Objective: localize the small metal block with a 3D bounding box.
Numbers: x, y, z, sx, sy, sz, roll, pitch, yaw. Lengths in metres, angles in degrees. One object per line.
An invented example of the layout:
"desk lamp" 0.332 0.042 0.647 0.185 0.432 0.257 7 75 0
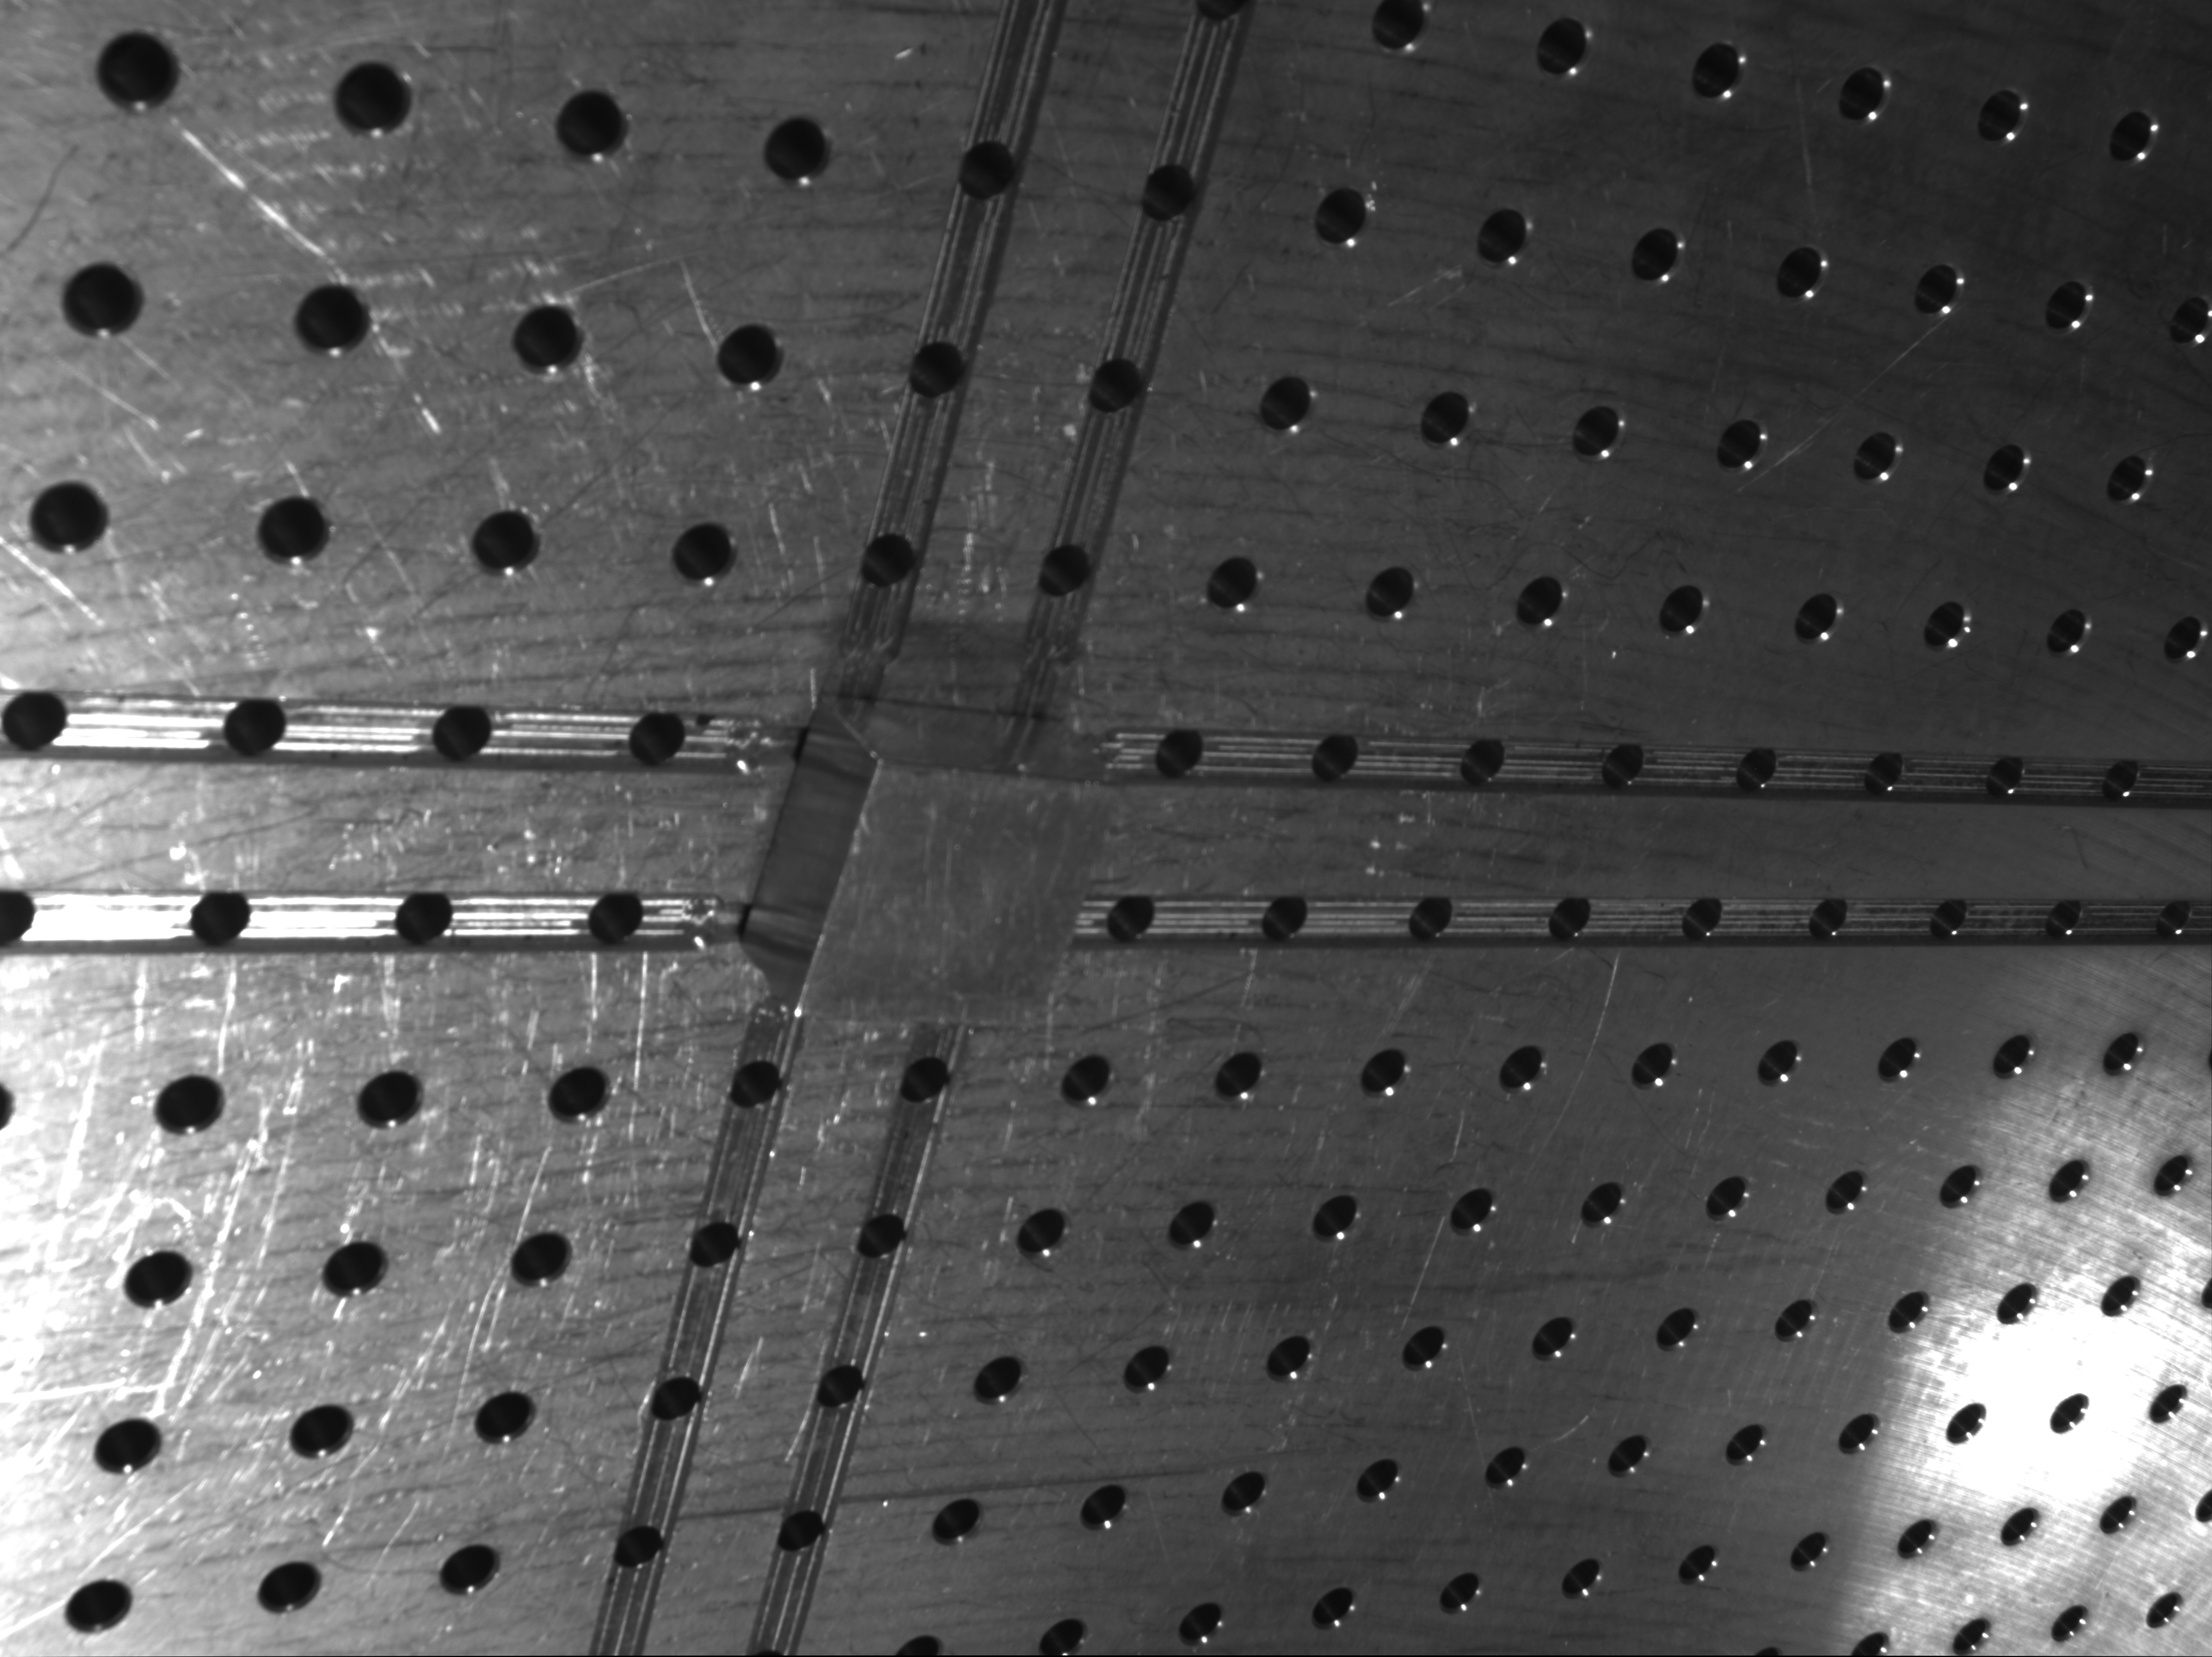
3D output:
"small metal block" -0.023 0.007 0.645 0.050 0.025 0.050 5 115 -33
